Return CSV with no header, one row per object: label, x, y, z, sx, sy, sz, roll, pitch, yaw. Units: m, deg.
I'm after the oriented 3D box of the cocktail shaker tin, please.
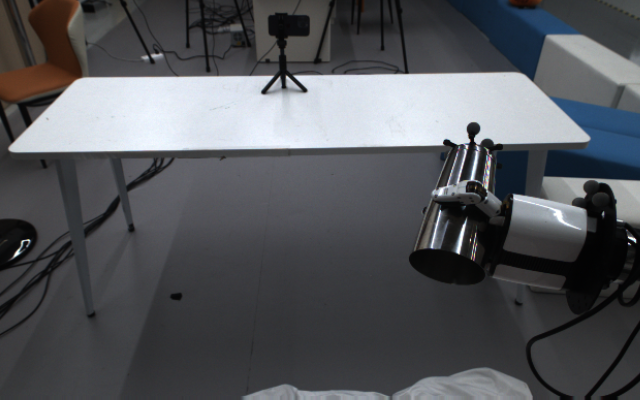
cocktail shaker tin,0.180,0.012,0.623,0.093,0.093,0.170,14,60,17
